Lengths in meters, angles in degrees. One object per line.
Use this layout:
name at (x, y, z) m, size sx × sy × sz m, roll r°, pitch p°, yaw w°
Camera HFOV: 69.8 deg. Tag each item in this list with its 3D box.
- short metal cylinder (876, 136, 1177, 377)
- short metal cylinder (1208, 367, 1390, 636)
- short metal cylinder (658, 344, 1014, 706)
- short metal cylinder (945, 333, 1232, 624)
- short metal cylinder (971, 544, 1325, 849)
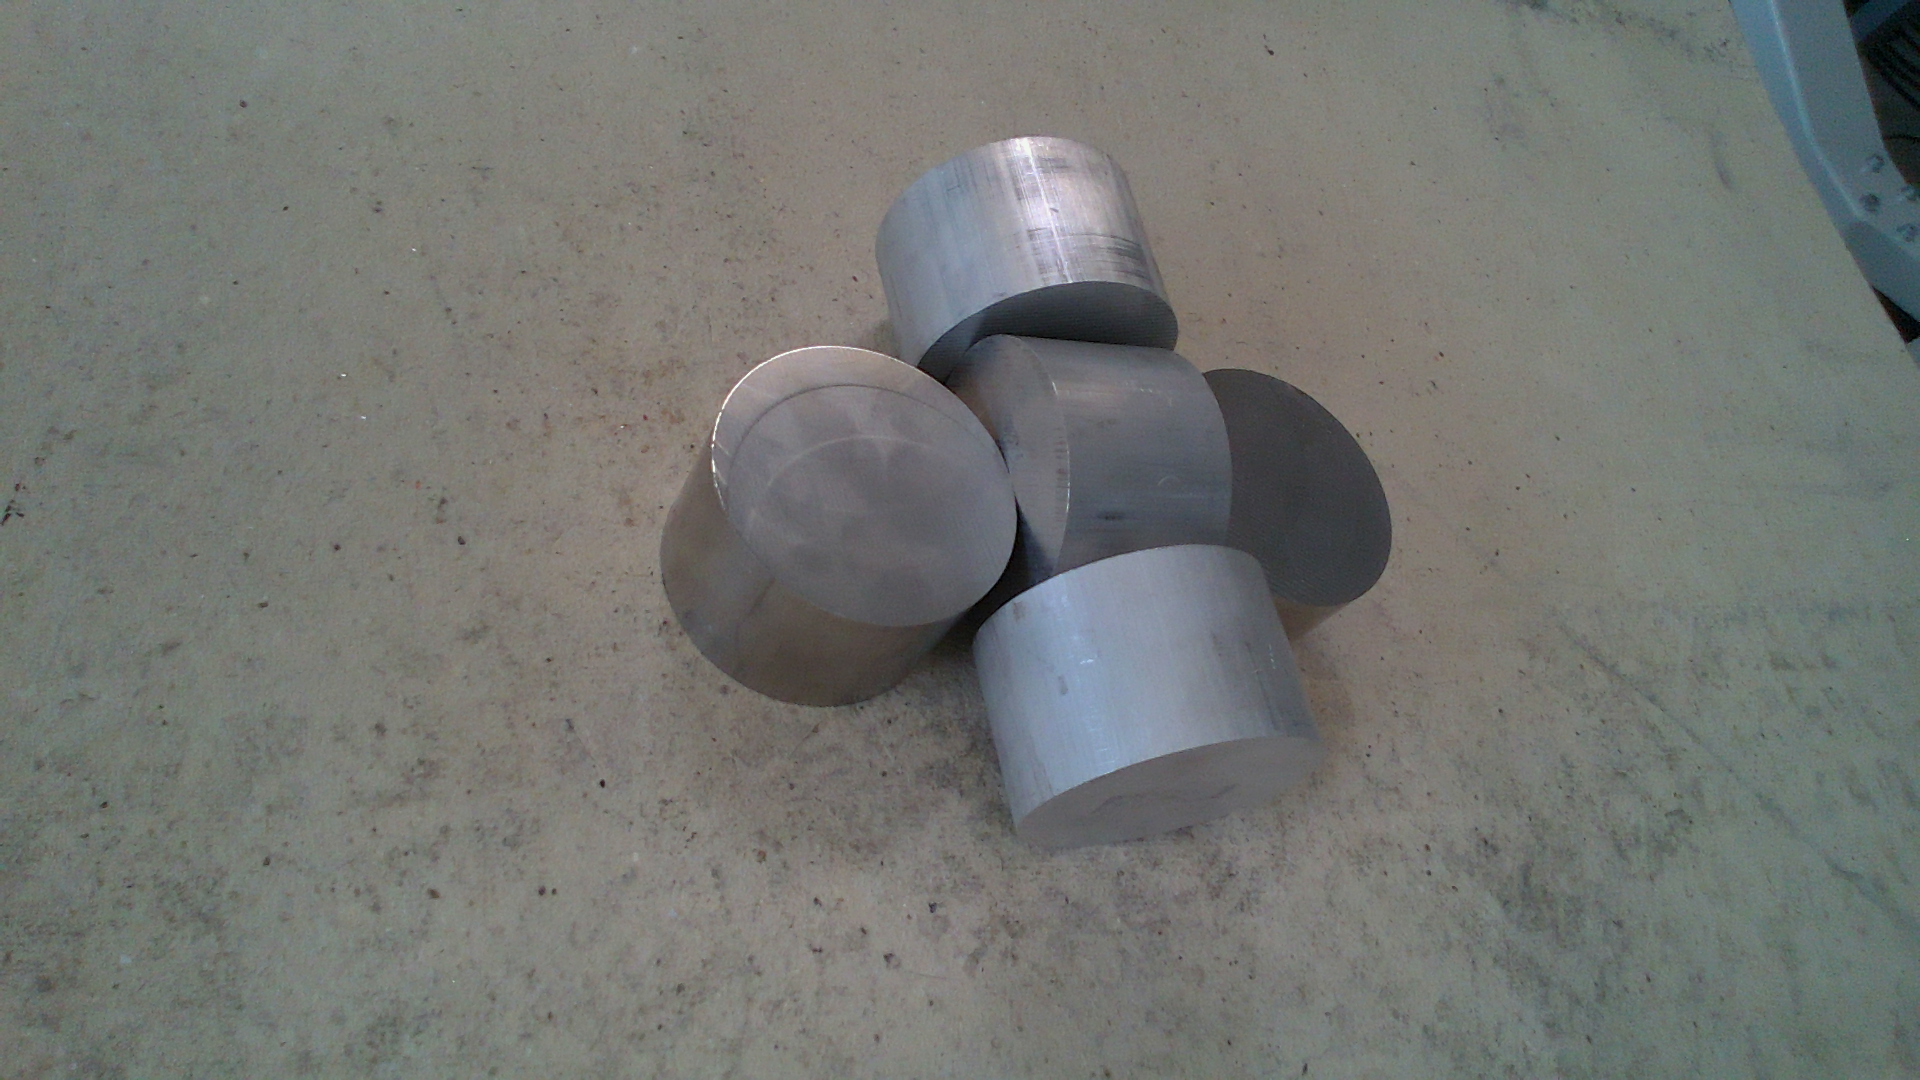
short metal cylinder at (0.018, -0.073, 0.409) m, size 0.080 × 0.080 × 0.050 m, roll 0°, pitch 61°, yaw -28°
short metal cylinder at (0.083, -0.005, 0.421) m, size 0.080 × 0.050 × 0.080 m, roll 13°, pitch 56°, yaw -21°
short metal cylinder at (-0.033, -0.004, 0.358) m, size 0.080 × 0.050 × 0.080 m, roll 14°, pitch 55°, yaw -21°
short metal cylinder at (0.030, -0.015, 0.380) m, size 0.050 × 0.080 × 0.080 m, roll 0°, pitch 61°, yaw -28°
short metal cylinder at (0.047, 0.042, 0.355) m, size 0.080 × 0.080 × 0.050 m, roll 0°, pitch 61°, yaw -28°
